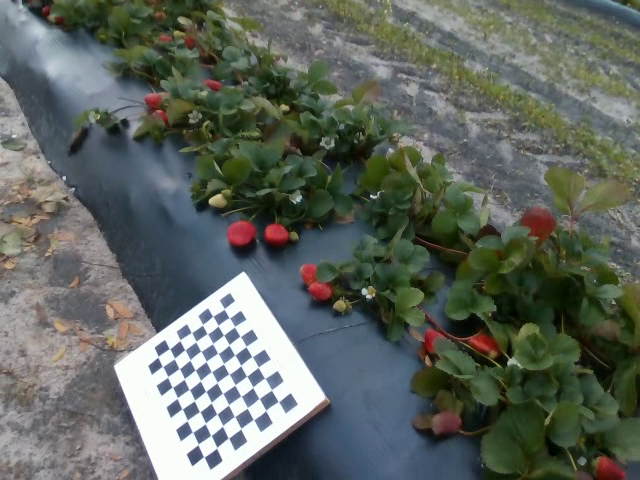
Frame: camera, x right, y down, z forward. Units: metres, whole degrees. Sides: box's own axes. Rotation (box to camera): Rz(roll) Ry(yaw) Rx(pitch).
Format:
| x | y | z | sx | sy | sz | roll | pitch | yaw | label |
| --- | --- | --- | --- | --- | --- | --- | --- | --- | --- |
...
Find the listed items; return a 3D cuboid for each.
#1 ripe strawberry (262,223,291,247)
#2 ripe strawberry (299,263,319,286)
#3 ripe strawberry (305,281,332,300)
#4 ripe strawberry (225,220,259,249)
| x | y | z | sx | sy | sz | roll | pitch | yaw | label |
| --- | --- | --- | --- | --- | --- | --- | --- | --- | --- |
| -0.088 | -0.009 | 1.163 | 0.050 | 0.051 | 0.059 | -22 | 5 | 17 | ripe strawberry |
| -0.019 | 0.062 | 1.088 | 0.053 | 0.047 | 0.039 | 31 | -10 | 2 | ripe strawberry |
| -0.004 | 0.084 | 1.053 | 0.049 | 0.041 | 0.043 | 11 | 26 | -47 | ripe strawberry |
| -0.154 | -0.008 | 1.160 | 0.058 | 0.044 | 0.065 | -17 | 38 | 20 | ripe strawberry |
